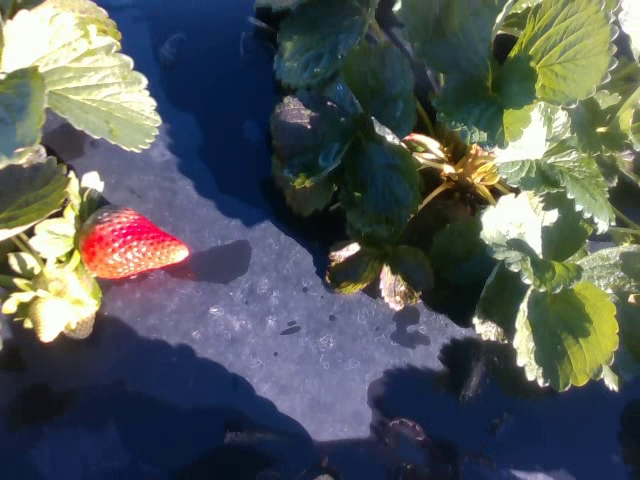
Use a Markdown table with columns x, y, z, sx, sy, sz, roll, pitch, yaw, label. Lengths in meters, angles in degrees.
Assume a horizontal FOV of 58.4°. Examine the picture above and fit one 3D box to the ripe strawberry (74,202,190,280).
| x | y | z | sx | sy | sz | roll | pitch | yaw | label |
| --- | --- | --- | --- | --- | --- | --- | --- | --- | --- |
| -0.101 | 0.003 | 0.314 | 0.064 | 0.050 | 0.052 | 6 | 19 | 1 | ripe strawberry |
